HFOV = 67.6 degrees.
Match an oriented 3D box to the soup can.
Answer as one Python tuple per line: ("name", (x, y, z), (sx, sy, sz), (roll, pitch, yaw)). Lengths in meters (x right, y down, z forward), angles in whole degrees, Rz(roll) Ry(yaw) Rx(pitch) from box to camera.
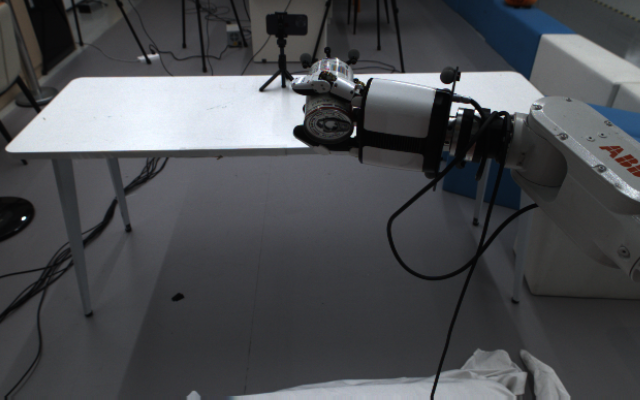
("soup can", (0.014, -0.138, 0.663), (0.067, 0.067, 0.101), (3, 57, 1))
